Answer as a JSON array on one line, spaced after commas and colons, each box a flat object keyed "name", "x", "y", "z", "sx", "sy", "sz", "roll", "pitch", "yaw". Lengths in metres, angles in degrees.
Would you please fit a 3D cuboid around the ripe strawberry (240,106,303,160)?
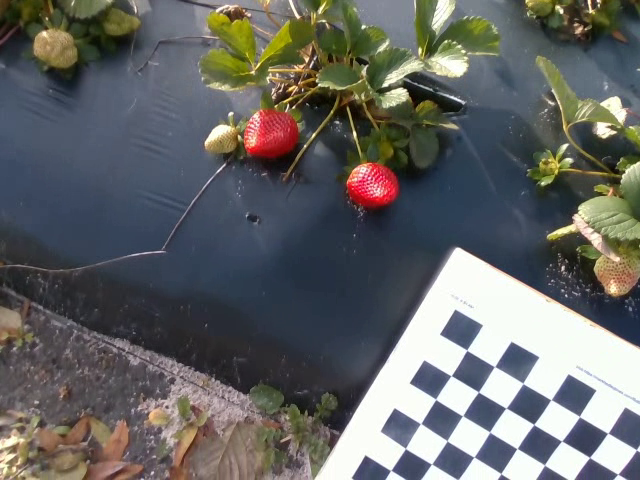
[{"name": "ripe strawberry", "x": -0.030, "y": -0.063, "z": 0.335, "sx": 0.035, "sy": 0.041, "sz": 0.036, "roll": 16, "pitch": 34, "yaw": 12}]

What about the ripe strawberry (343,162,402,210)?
[{"name": "ripe strawberry", "x": 0.033, "y": -0.031, "z": 0.330, "sx": 0.033, "sy": 0.038, "sz": 0.039, "roll": 34, "pitch": 23, "yaw": -15}]
